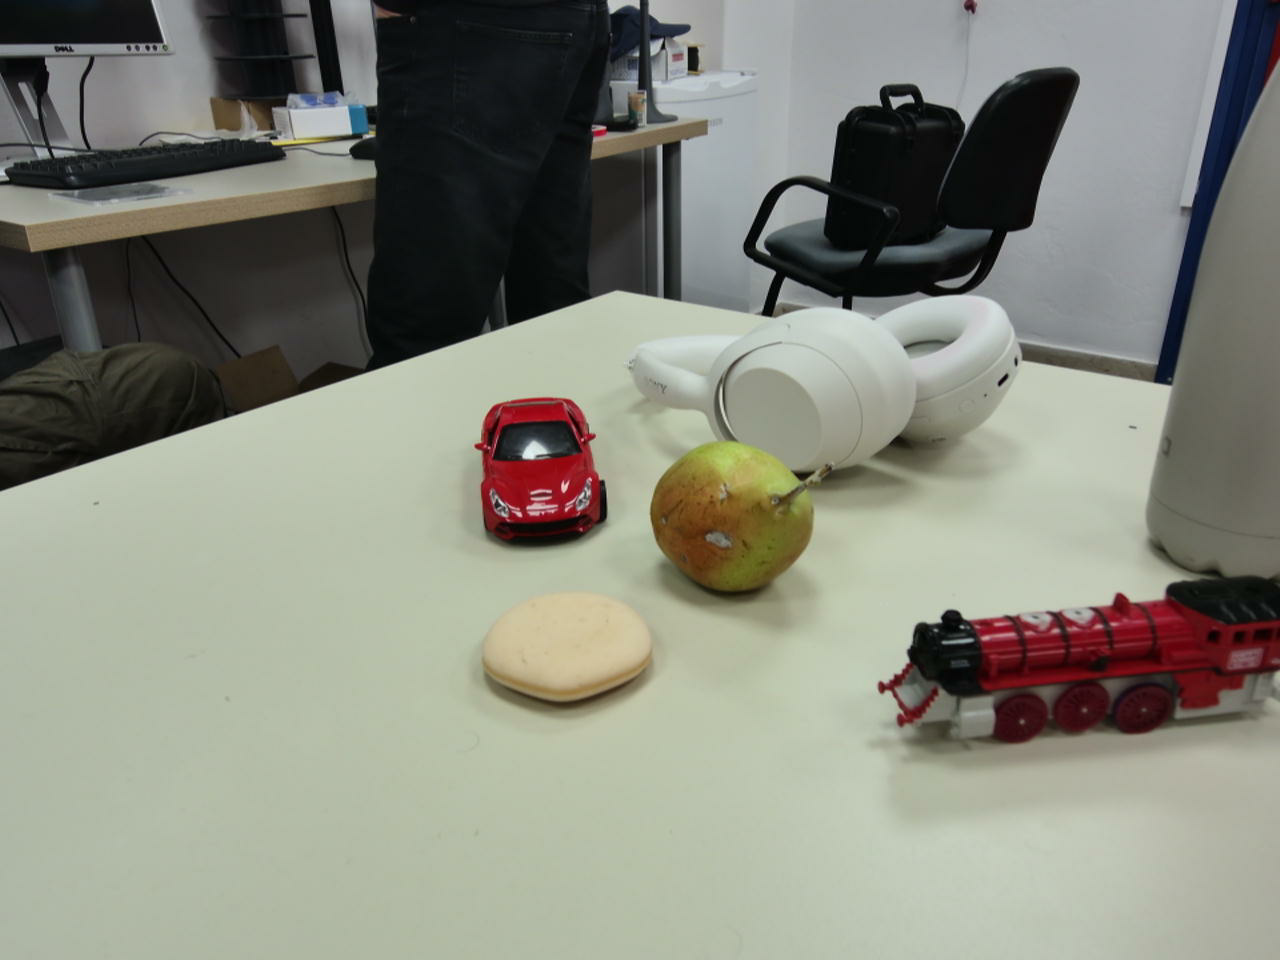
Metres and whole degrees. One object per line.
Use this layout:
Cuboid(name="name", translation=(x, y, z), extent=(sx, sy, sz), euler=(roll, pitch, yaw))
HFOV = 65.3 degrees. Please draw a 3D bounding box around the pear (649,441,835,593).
Cuboid(name="pear", translation=(0.038, 0.013, 0.424), extent=(0.068, 0.069, 0.070), euler=(1, 23, 0))
